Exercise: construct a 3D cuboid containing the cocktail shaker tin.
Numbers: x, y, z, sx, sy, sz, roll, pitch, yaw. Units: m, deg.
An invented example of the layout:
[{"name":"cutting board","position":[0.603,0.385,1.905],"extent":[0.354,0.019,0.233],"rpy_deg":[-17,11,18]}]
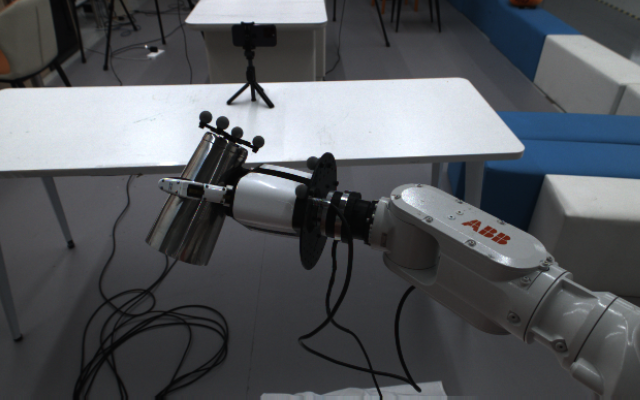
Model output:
[{"name":"cocktail shaker tin","position":[-0.164,-0.006,0.678],"extent":[0.093,0.170,0.093],"rpy_deg":[23,0,0]}]
